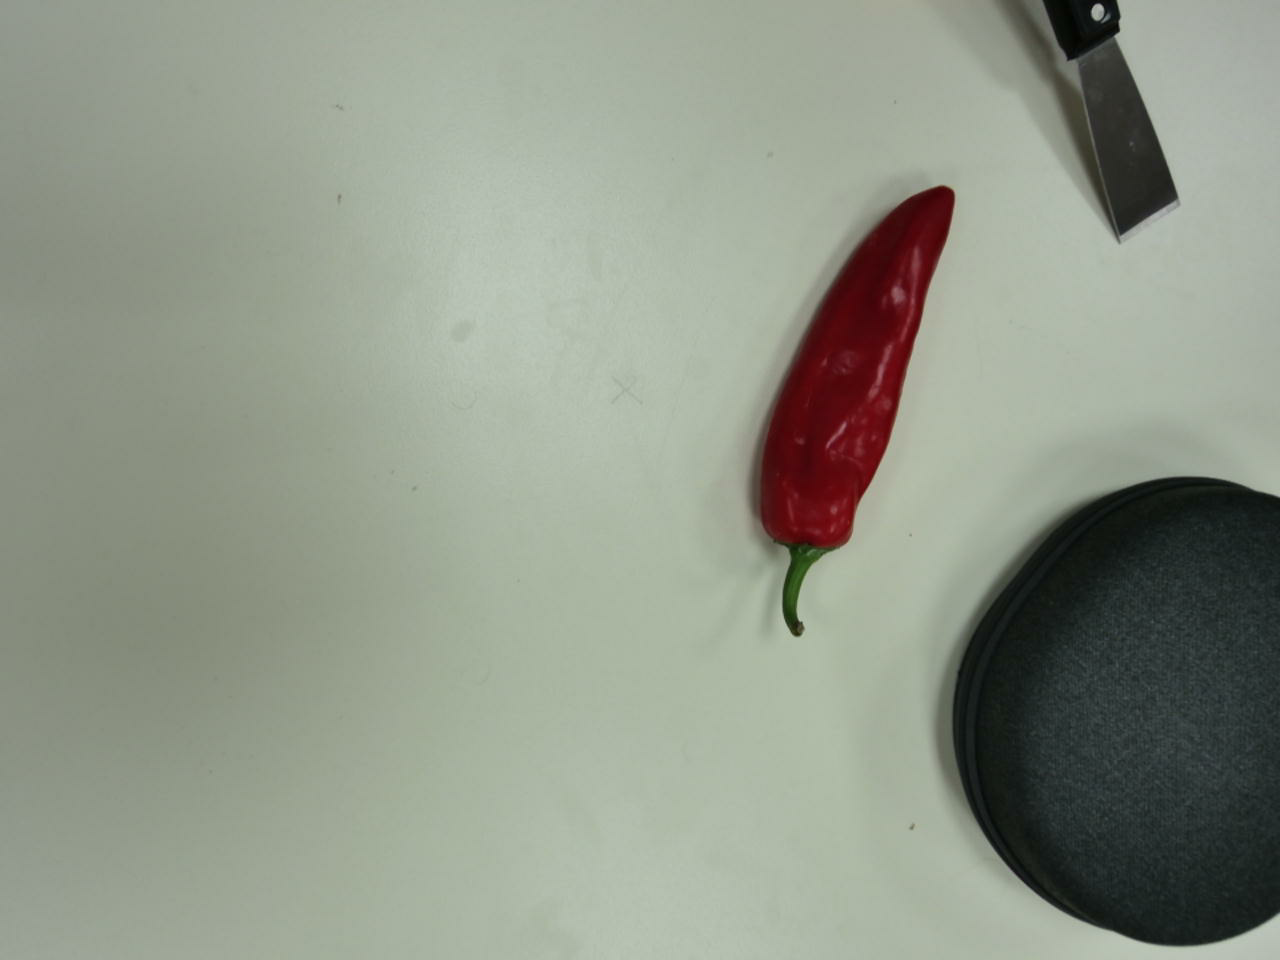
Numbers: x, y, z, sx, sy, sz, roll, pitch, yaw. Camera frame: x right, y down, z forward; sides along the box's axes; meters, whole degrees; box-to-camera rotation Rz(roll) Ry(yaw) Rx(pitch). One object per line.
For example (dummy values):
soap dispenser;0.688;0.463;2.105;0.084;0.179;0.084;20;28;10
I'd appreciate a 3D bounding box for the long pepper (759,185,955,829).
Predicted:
long pepper;0.091;-0.036;0.438;0.050;0.043;0.211;22;86;-11
